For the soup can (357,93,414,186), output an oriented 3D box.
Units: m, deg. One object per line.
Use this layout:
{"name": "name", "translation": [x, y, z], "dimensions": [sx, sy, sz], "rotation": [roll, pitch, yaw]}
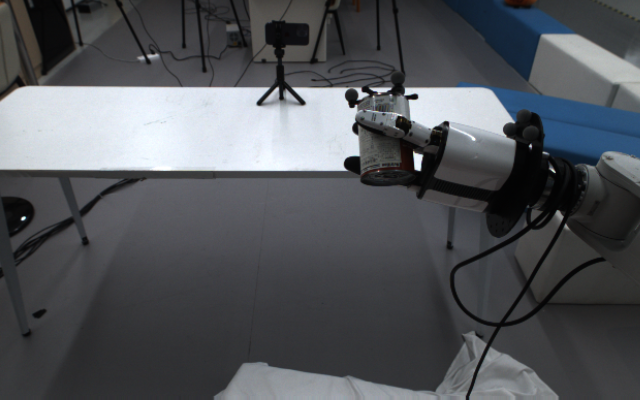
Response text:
{"name": "soup can", "translation": [0.083, -0.076, 0.606], "dimensions": [0.067, 0.067, 0.101], "rotation": [-2, 76, -6]}
